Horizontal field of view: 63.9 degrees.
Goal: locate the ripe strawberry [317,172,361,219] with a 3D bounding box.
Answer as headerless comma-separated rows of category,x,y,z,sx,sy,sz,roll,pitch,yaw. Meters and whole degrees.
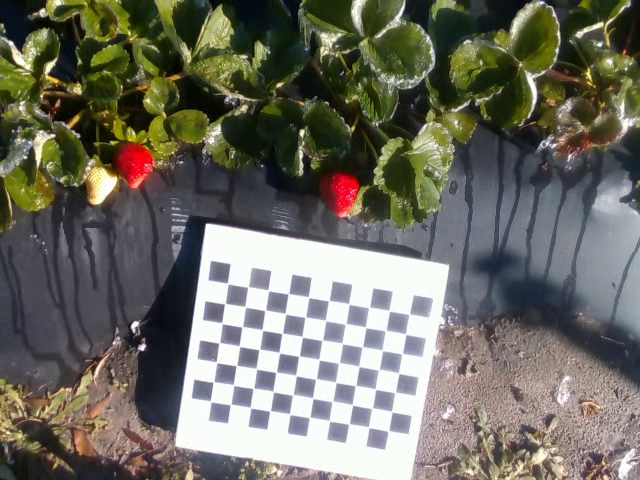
ripe strawberry,0.022,-0.052,0.567,0.048,0.061,0.044,3,-27,-1

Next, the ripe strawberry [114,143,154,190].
ripe strawberry,-0.206,-0.076,0.570,0.042,0.061,0.046,-5,-37,0
